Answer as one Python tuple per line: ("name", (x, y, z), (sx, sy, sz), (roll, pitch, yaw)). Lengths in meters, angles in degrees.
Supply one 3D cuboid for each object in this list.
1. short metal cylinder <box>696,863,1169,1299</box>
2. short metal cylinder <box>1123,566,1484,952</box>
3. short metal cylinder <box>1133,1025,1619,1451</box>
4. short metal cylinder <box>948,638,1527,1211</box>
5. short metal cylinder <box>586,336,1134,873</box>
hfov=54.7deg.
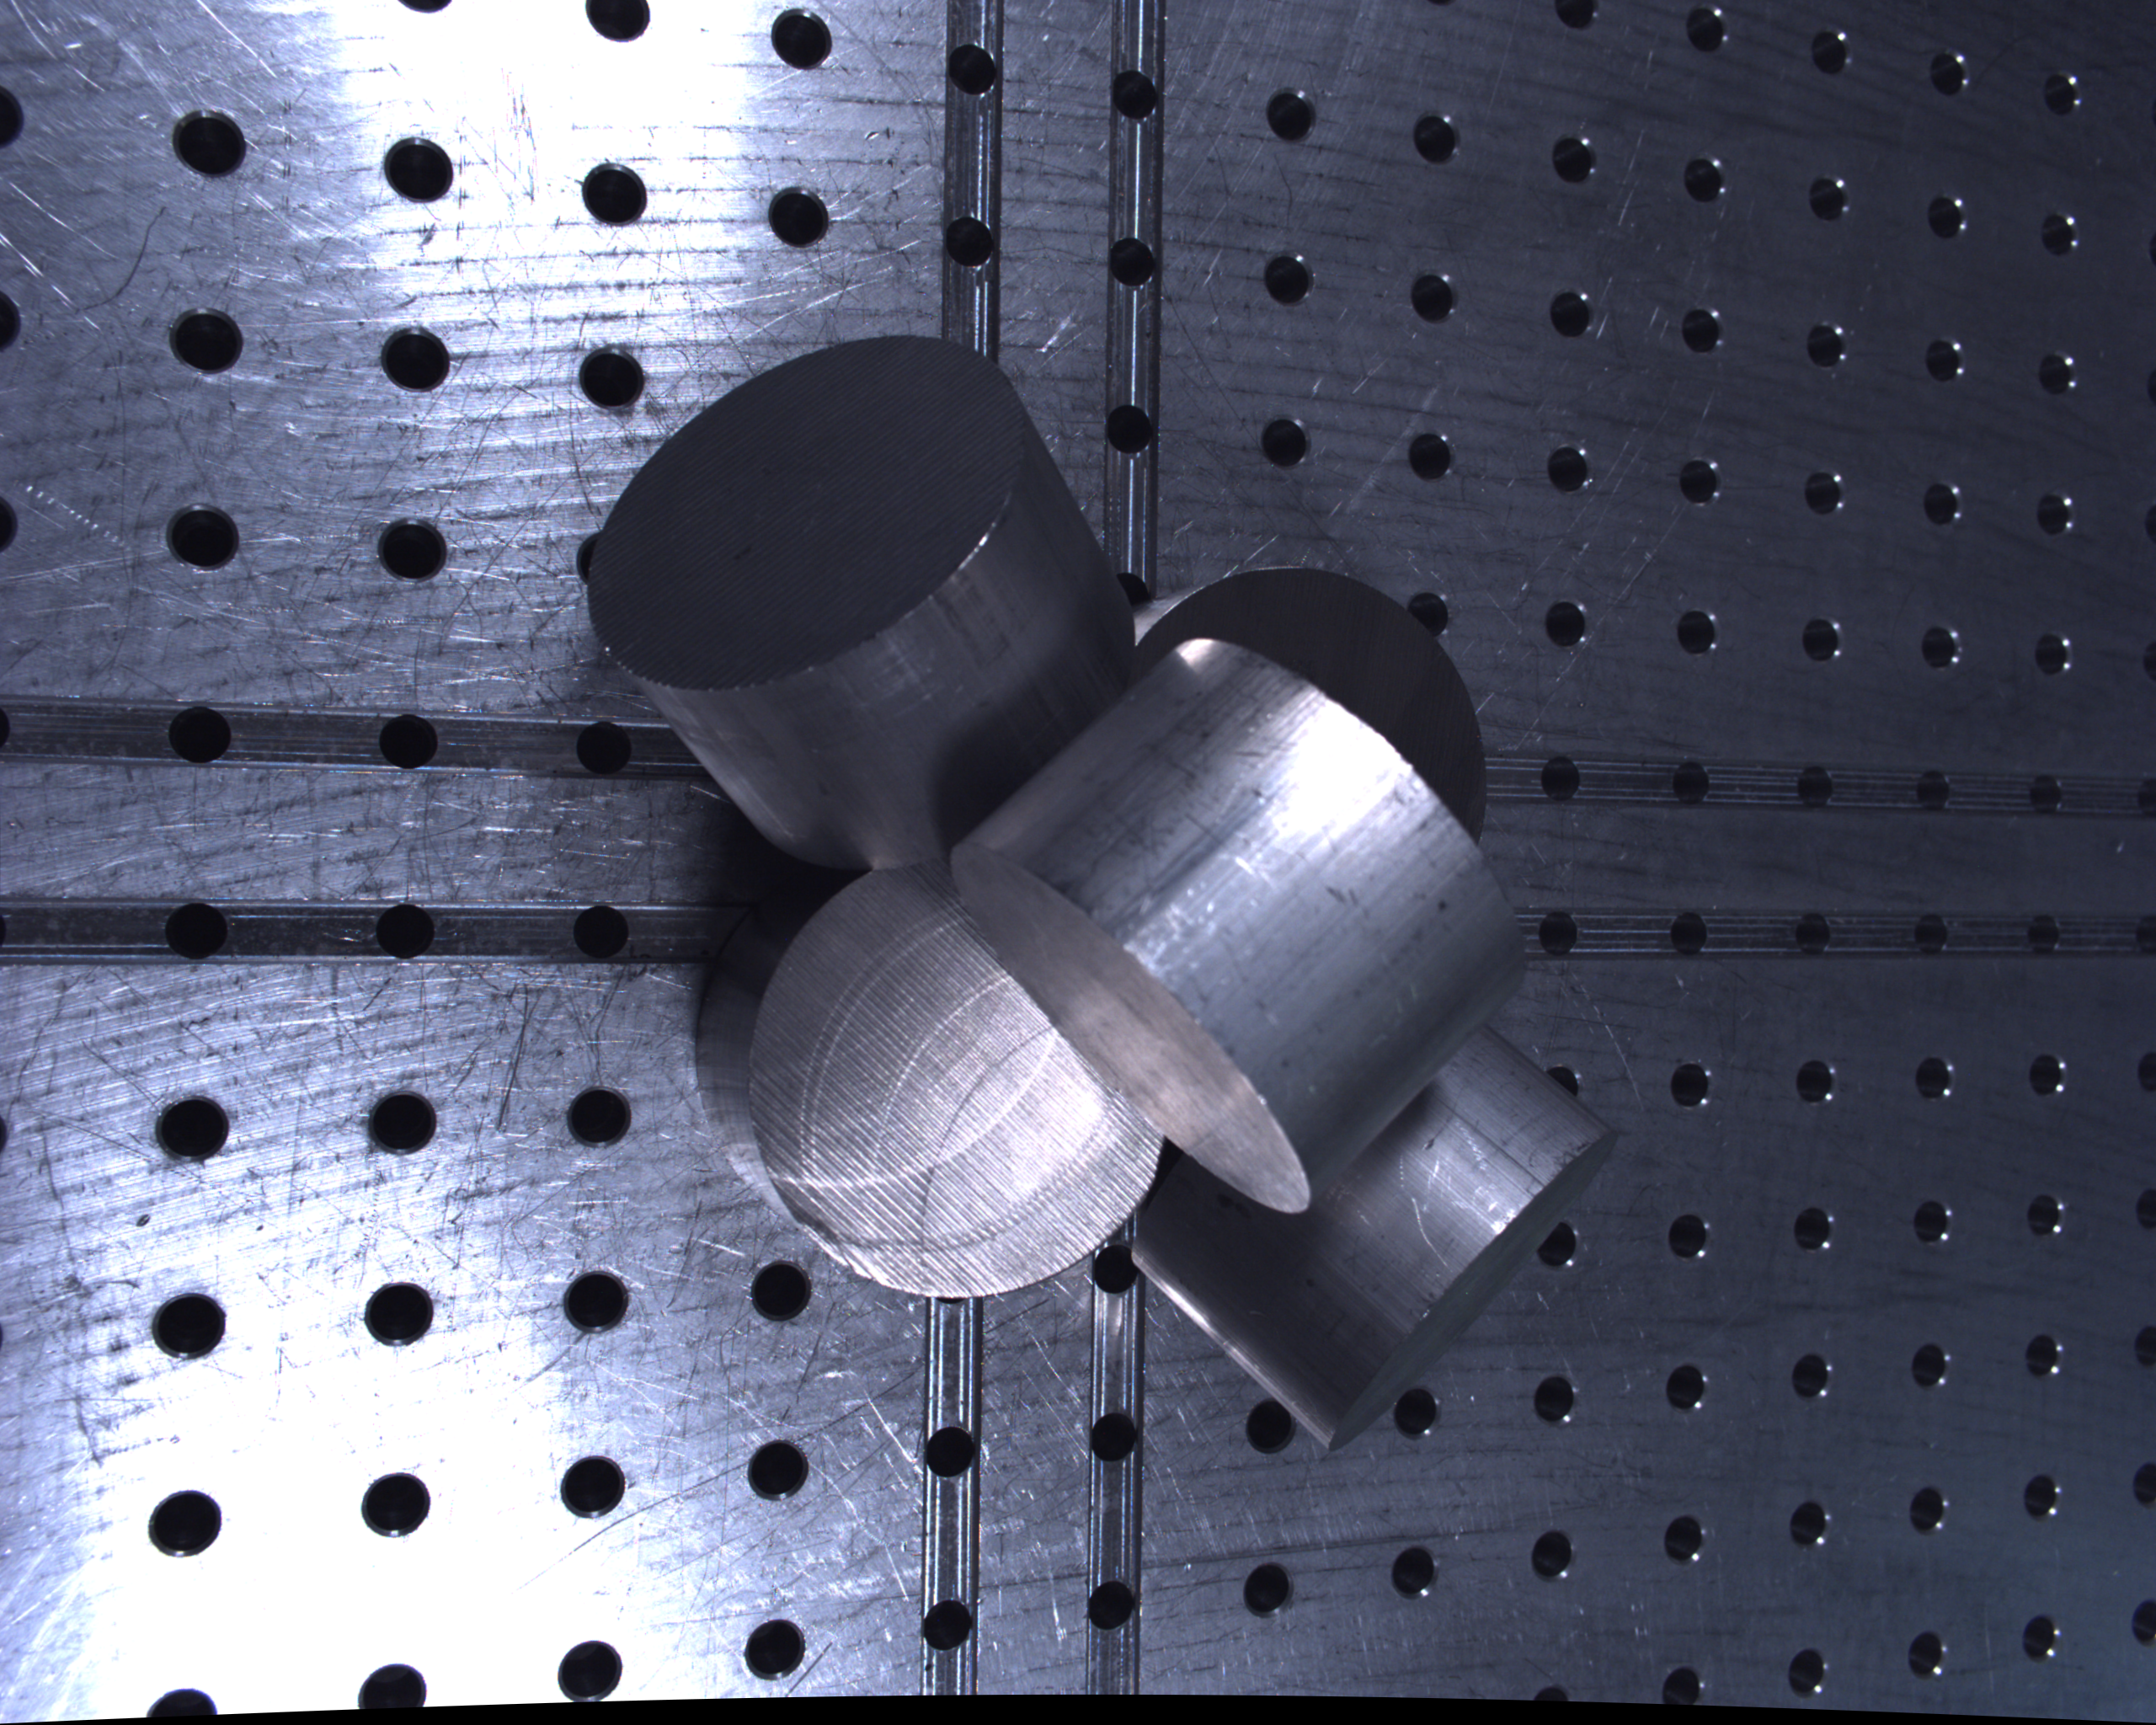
("short metal cylinder", (-0.027, 0.037, 0.390), (0.081, 0.050, 0.079), (0, 90, -21))
("short metal cylinder", (0.032, -0.016, 0.411), (0.081, 0.050, 0.079), (0, 90, -21))
("short metal cylinder", (0.057, 0.065, 0.398), (0.080, 0.080, 0.050), (-42, 68, -15))
("short metal cylinder", (0.025, 0.010, 0.339), (0.050, 0.080, 0.080), (-43, 104, -15))
("short metal cylinder", (-0.037, -0.045, 0.363), (0.080, 0.080, 0.050), (-48, 139, -14))
